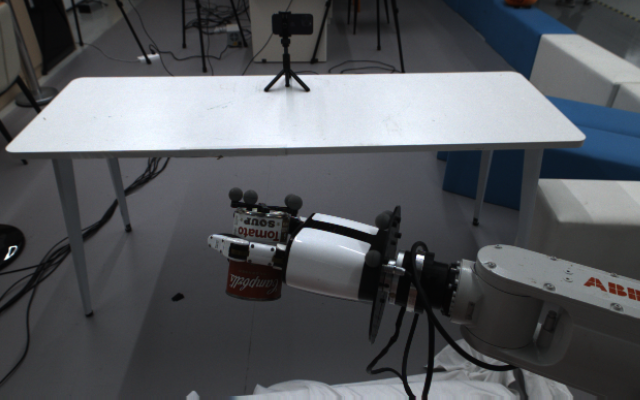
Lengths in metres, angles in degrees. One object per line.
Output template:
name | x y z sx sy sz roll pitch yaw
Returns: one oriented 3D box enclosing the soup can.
soup can | -0.073 0.064 0.582 0.067 0.101 0.067 7 3 0
